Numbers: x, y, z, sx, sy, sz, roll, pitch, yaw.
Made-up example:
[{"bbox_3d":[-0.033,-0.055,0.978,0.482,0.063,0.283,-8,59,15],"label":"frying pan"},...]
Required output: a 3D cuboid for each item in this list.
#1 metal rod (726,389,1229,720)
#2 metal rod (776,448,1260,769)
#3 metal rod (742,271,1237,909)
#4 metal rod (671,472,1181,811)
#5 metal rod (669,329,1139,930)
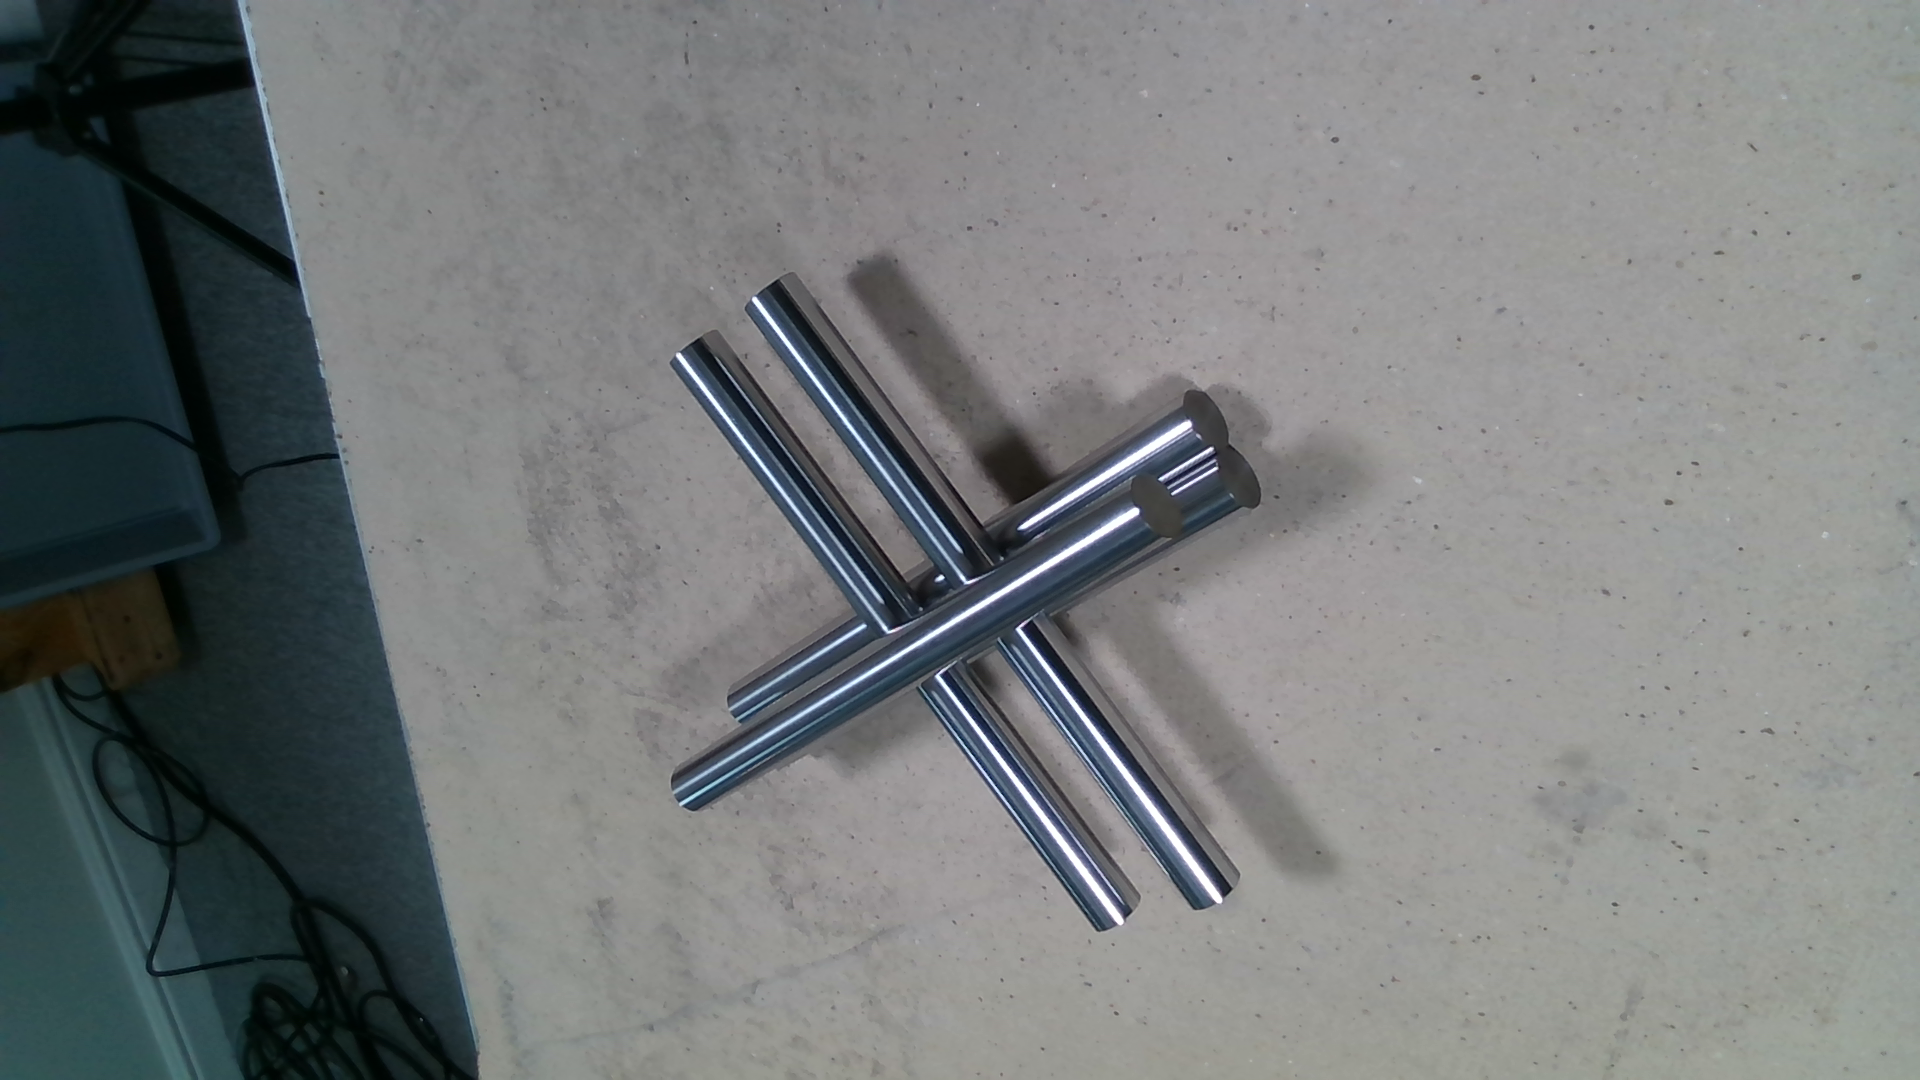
[{"bbox_3d":[-0.009,0.019,0.595,0.301,0.025,0.025,-33,96,39],"label":"metal rod"},{"bbox_3d":[0.004,0.040,0.600,0.301,0.025,0.025,-33,96,39],"label":"metal rod"},{"bbox_3d":[0.014,0.022,0.551,0.025,0.025,0.300,-33,96,39],"label":"metal rod"},{"bbox_3d":[-0.030,0.053,0.563,0.301,0.025,0.025,-34,95,39],"label":"metal rod"},{"bbox_3d":[-0.022,0.040,0.583,0.025,0.025,0.300,-33,96,39],"label":"metal rod"}]
